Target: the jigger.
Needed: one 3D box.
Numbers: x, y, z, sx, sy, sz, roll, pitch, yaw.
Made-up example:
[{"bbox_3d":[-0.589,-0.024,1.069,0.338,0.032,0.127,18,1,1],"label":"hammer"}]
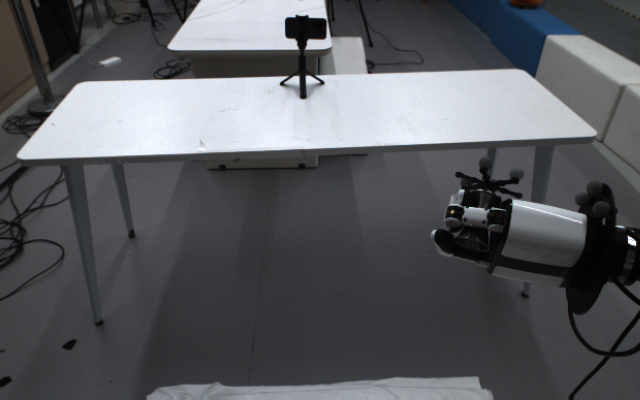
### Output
[{"bbox_3d":[0.201,0.022,0.612,0.043,0.043,0.071,16,70,19],"label":"jigger"}]
